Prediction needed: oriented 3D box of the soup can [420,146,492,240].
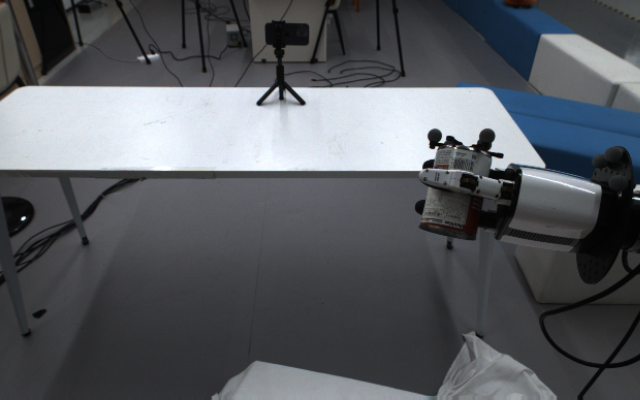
[{"bbox_3d":[0.166,-0.009,0.586,0.067,0.101,0.067,14,-6,1],"label":"soup can"}]
